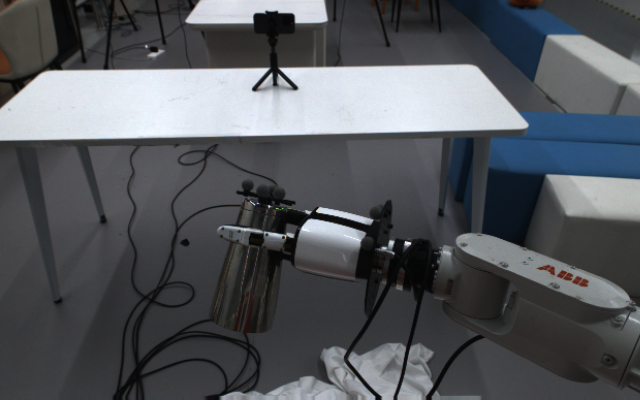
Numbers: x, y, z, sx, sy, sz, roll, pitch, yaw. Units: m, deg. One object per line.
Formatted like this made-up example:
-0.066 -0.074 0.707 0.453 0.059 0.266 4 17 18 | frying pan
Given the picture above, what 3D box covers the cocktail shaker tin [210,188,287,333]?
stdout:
-0.092 0.085 0.681 0.093 0.170 0.093 12 3 -1 | cocktail shaker tin
